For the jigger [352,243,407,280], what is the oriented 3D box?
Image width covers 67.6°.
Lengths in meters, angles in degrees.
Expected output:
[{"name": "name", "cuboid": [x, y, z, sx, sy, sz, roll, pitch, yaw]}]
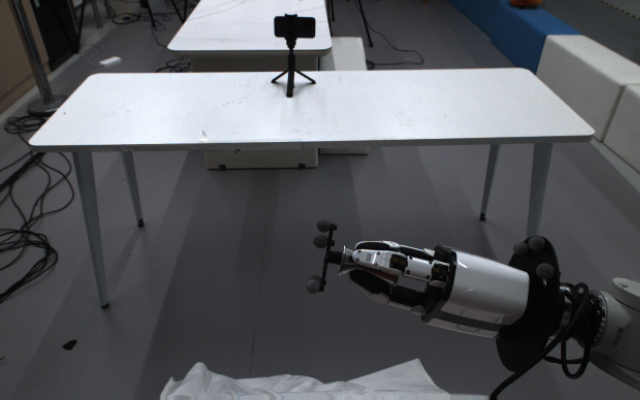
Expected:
[{"name": "jigger", "cuboid": [0.066, 0.073, 0.576, 0.071, 0.043, 0.043, 10, 35, 2]}]
